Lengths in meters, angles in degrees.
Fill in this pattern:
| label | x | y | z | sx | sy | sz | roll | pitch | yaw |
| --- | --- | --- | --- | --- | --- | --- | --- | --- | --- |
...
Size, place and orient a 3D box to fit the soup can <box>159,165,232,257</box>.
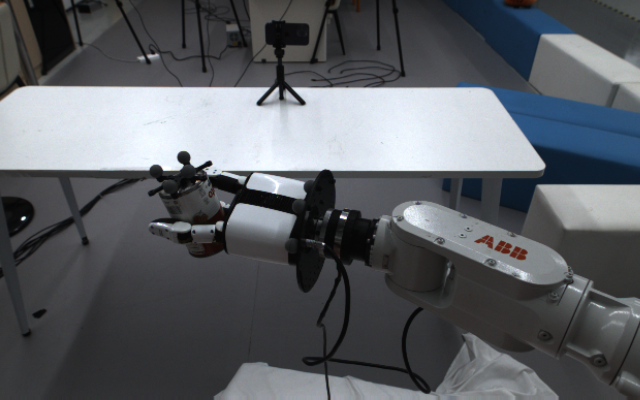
| label | x | y | z | sx | sy | sz | roll | pitch | yaw |
| --- | --- | --- | --- | --- | --- | --- | --- | --- | --- |
| soup can | -0.164 | 0.019 | 0.651 | 0.067 | 0.101 | 0.067 | -13 | 31 | 8 |
